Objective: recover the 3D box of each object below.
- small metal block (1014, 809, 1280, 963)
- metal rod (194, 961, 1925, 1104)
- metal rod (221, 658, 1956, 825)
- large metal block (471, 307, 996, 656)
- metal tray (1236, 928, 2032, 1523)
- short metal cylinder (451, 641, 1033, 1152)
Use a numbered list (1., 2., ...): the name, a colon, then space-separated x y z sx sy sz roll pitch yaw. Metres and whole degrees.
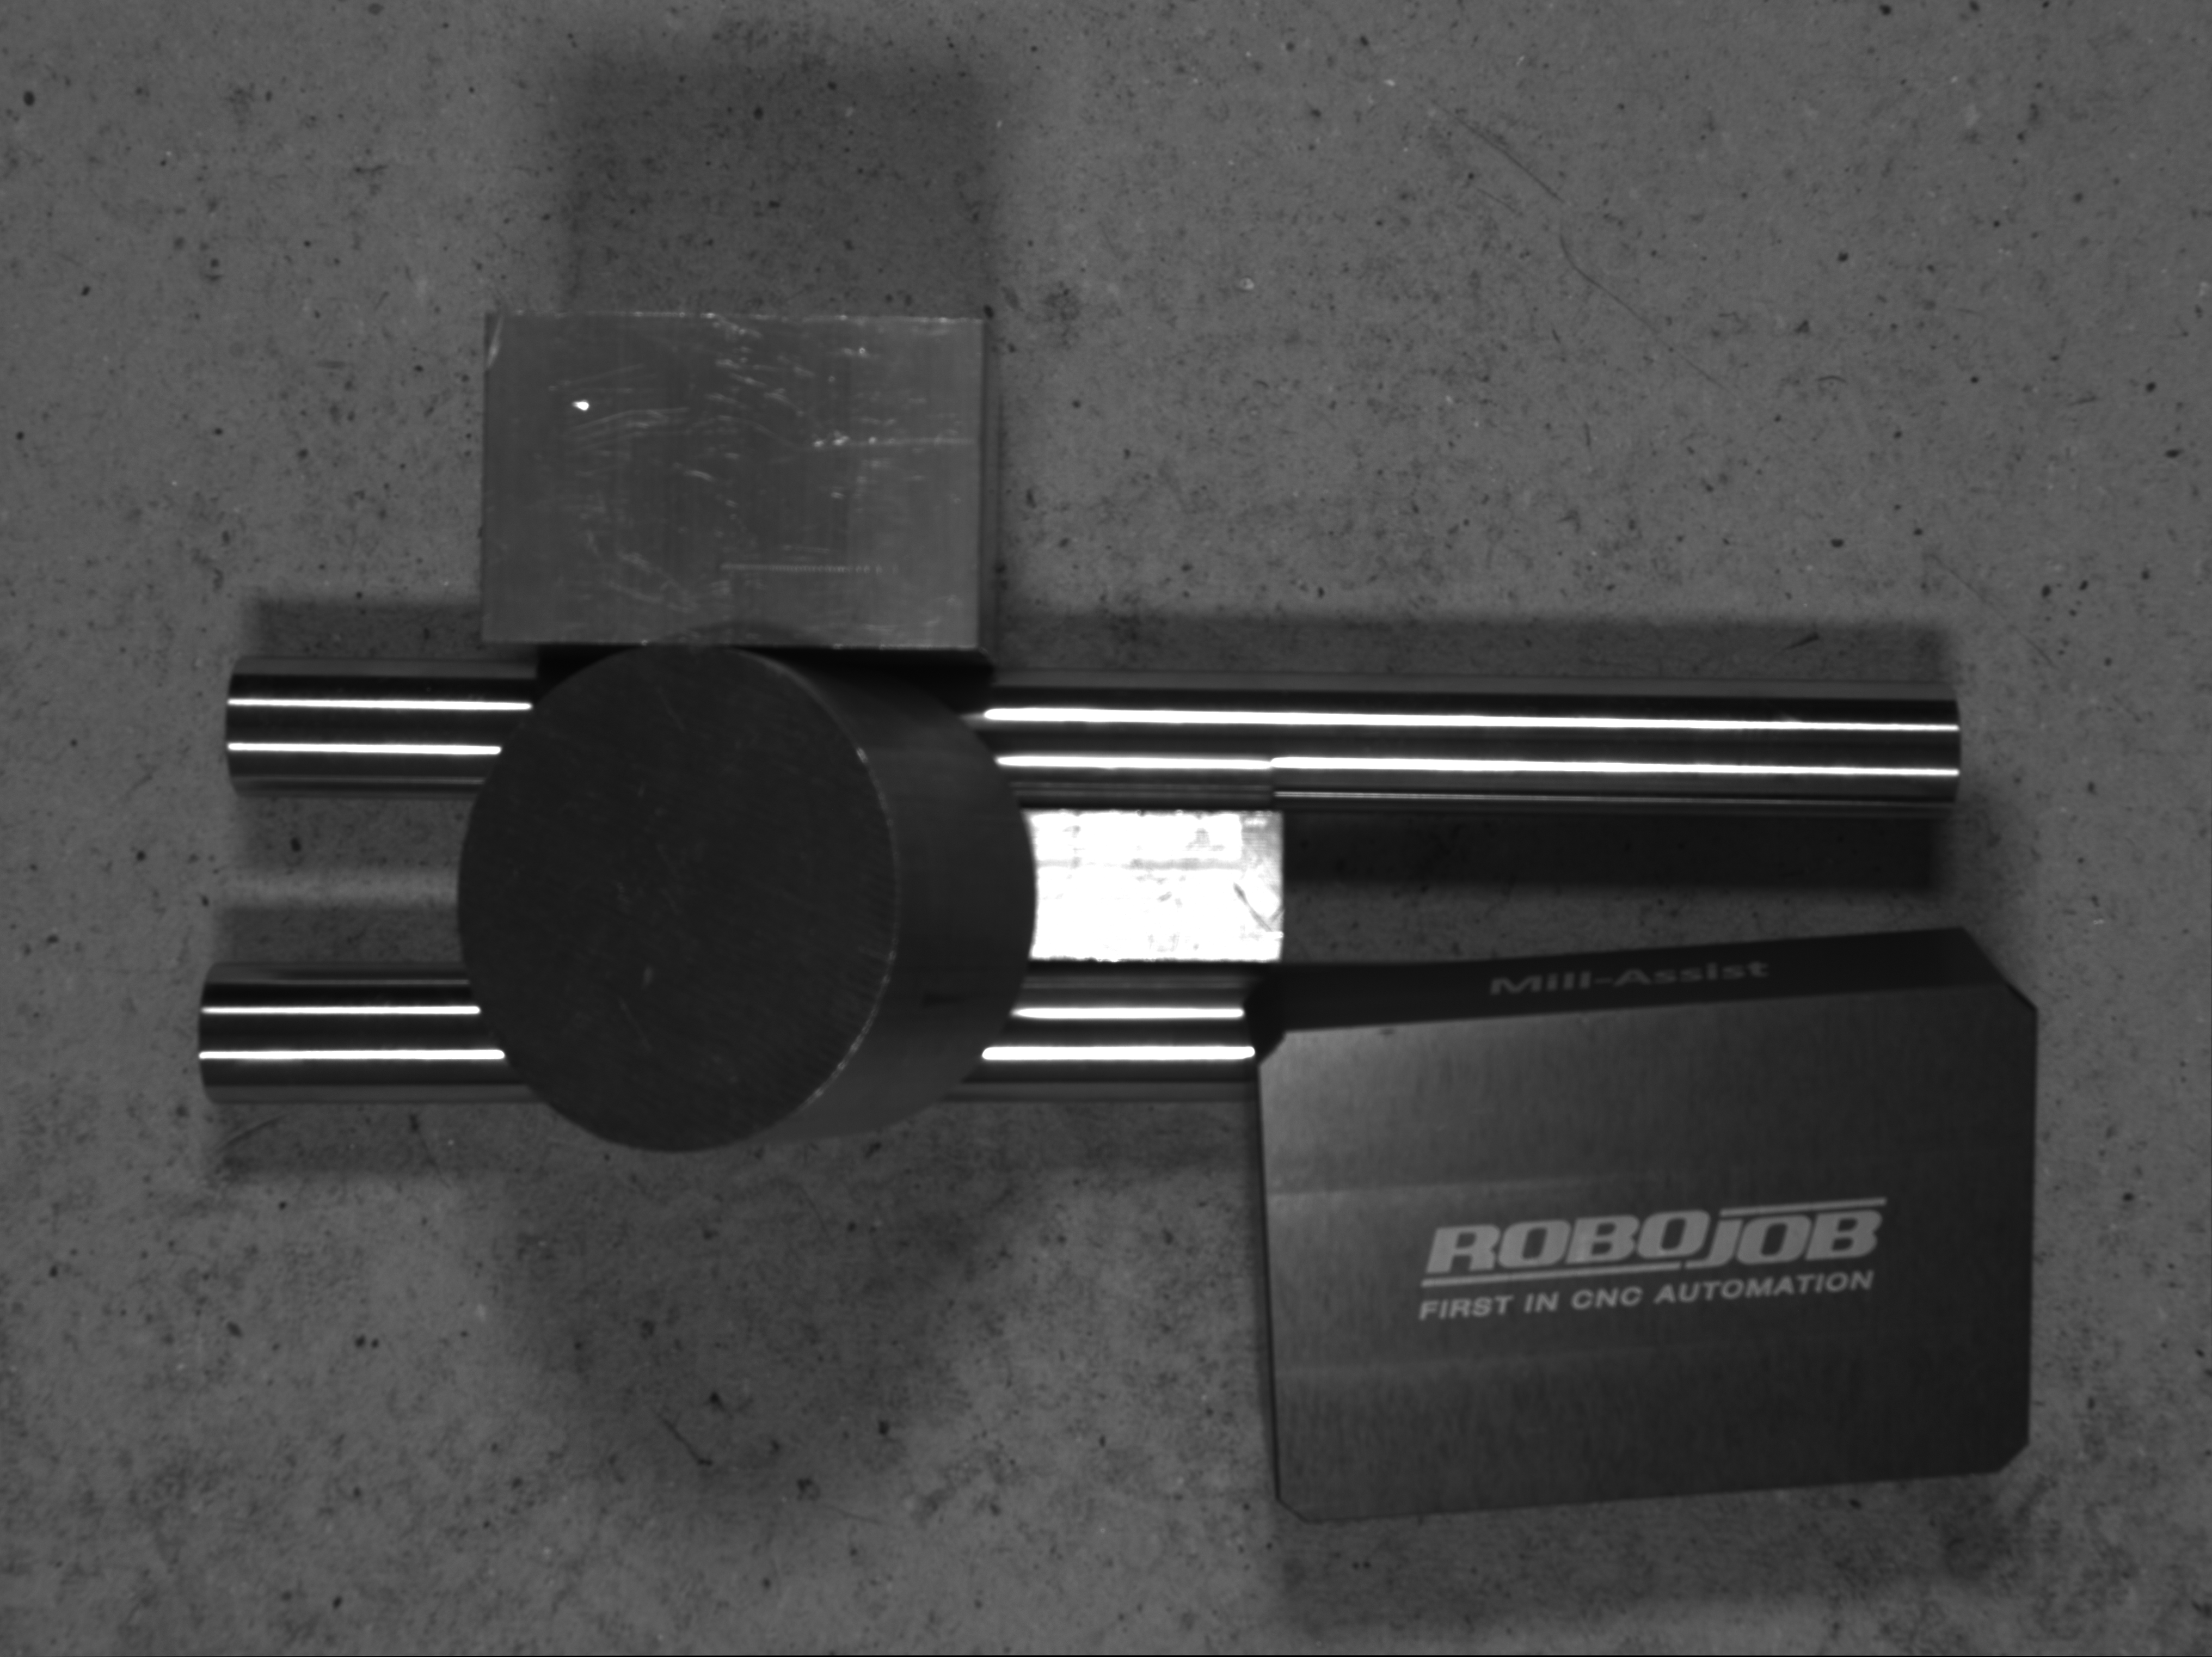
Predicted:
1. small metal block: 0.004 0.010 0.632 0.050 0.050 0.025 1 90 0
2. metal rod: -0.007 0.036 0.645 0.300 0.025 0.025 0 90 -1
3. metal rod: -0.003 -0.015 0.646 0.300 0.025 0.025 1 90 -1
4. large metal block: -0.060 -0.056 0.618 0.080 0.080 0.050 1 90 0
5. metal tray: 0.090 0.068 0.629 0.130 0.030 0.090 -4 108 -2
6. short metal cylinder: -0.059 0.011 0.597 0.080 0.050 0.080 -1 88 24
